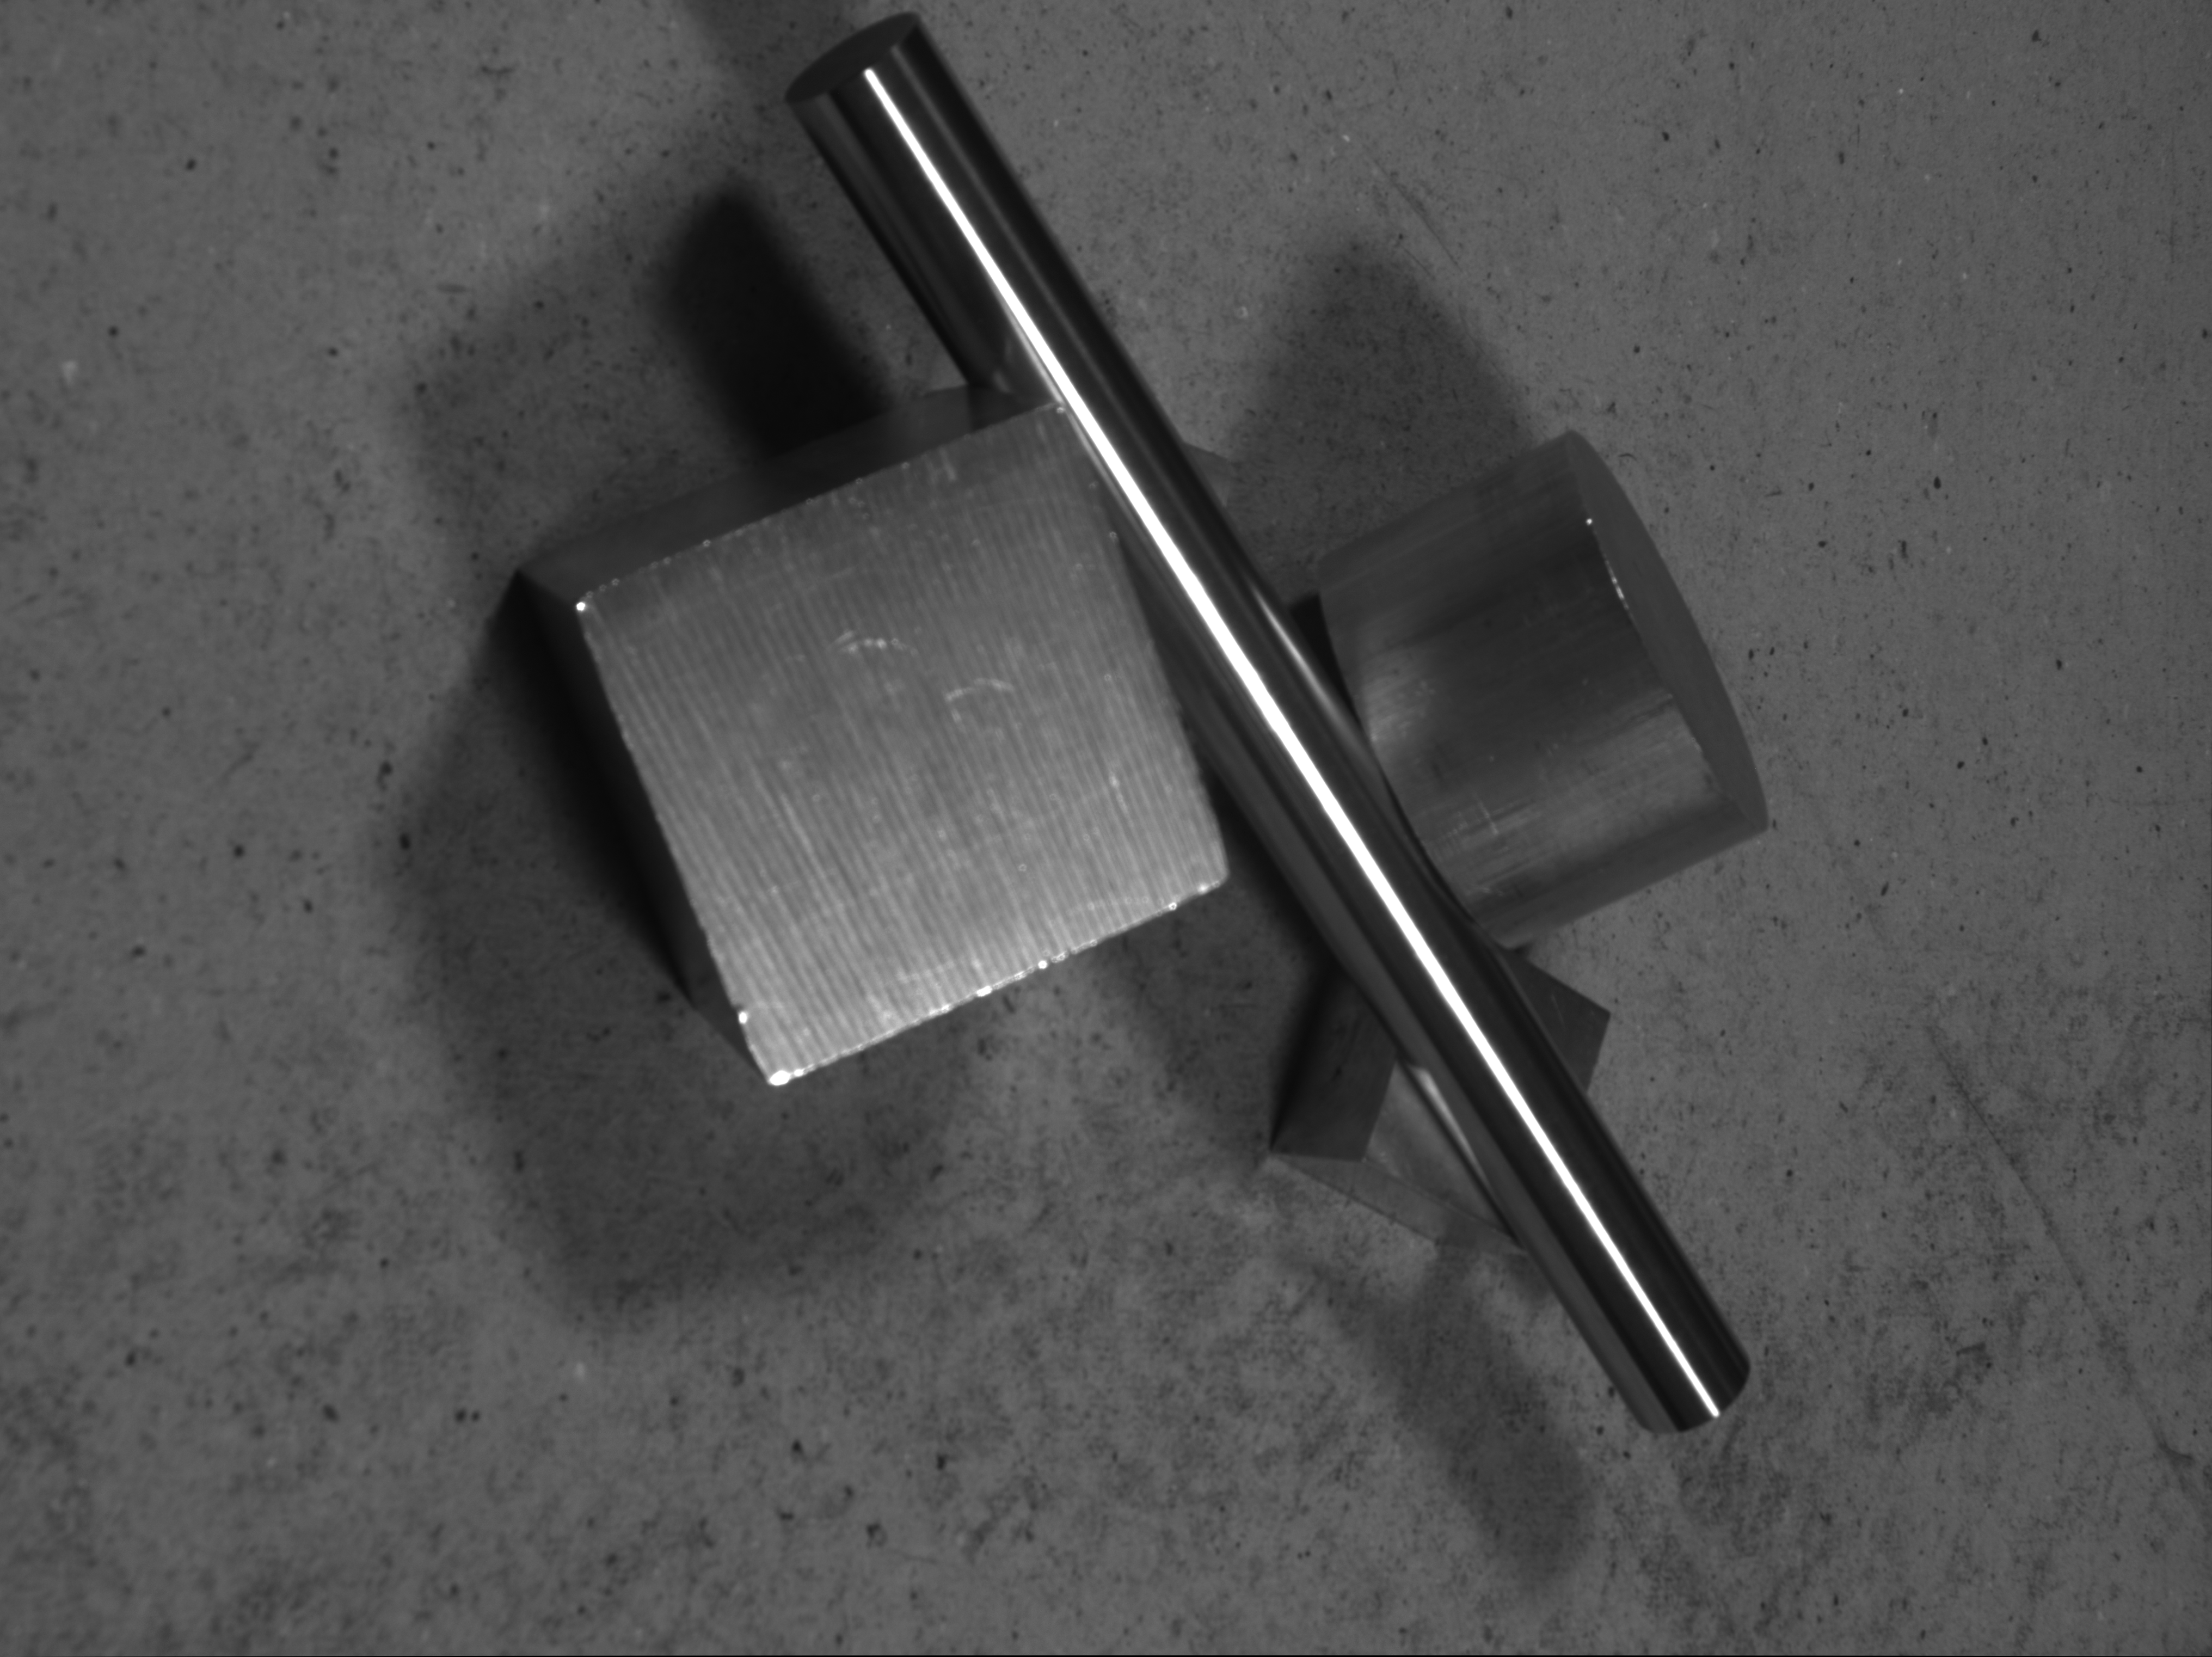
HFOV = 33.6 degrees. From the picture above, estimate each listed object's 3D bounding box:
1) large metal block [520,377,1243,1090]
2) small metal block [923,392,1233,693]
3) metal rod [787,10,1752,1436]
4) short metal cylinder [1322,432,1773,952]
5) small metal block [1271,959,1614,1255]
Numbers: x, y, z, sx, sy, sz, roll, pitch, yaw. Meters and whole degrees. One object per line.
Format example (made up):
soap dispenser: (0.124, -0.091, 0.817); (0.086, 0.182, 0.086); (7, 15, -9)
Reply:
large metal block: (-0.035, -0.017, 0.571); (0.080, 0.050, 0.080); (-24, 107, -13)
small metal block: (-0.009, -0.045, 0.631); (0.050, 0.025, 0.050); (16, 80, -39)
metal rod: (0.036, -0.007, 0.635); (0.025, 0.025, 0.300); (-48, 119, -29)
short metal cylinder: (0.080, -0.024, 0.662); (0.080, 0.050, 0.080); (55, 18, -27)
small metal block: (0.064, 0.048, 0.691); (0.050, 0.025, 0.050); (31, 71, -36)
